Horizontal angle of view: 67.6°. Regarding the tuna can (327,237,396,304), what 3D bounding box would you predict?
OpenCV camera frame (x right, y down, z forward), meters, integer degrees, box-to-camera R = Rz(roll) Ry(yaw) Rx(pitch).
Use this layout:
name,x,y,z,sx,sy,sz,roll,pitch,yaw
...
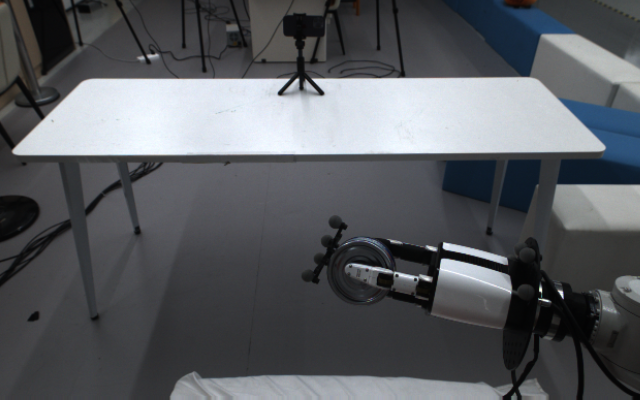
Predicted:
name,x,y,z,sx,sy,sz,roll,pitch,yaw
tuna can,0.056,0.088,0.620,0.085,0.085,0.034,8,5,8
